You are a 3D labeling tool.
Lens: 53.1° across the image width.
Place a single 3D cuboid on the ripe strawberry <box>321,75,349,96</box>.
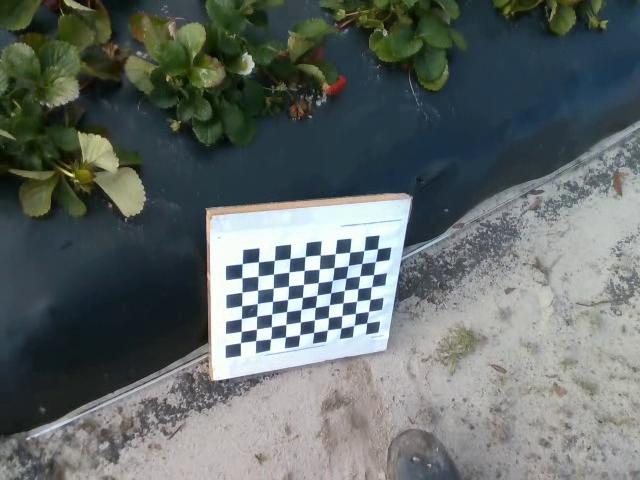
[{"bbox_3d":[0.011,-0.146,0.568,0.027,0.021,0.022,-22,-45,2],"label":"ripe strawberry"}]
